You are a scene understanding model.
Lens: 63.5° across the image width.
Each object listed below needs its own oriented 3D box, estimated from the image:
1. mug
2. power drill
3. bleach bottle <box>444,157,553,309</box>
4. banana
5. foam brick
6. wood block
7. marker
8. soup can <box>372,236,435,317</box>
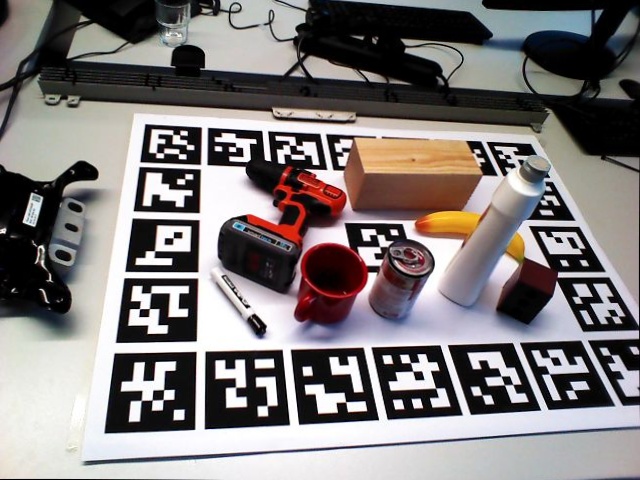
[{"bbox_3d":[0.007,0.062,0.702,0.093,0.082,0.116,35,55,16],"label":"mug"},{"bbox_3d":[-0.059,-0.037,0.800,0.185,0.058,0.185,25,48,6],"label":"power drill"},{"bbox_3d":[0.245,-0.015,0.706,0.068,0.252,0.102,23,48,9],"label":"bleach bottle"},{"bbox_3d":[0.251,-0.025,0.856,0.197,0.039,0.074,14,62,-2],"label":"banana"},{"bbox_3d":[0.314,0.078,0.757,0.053,0.078,0.051,25,47,13],"label":"foam brick"},{"bbox_3d":[0.165,-0.108,0.881,0.206,0.091,0.089,0,51,-12],"label":"wood block"},{"bbox_3d":[-0.111,0.085,0.705,0.019,0.020,0.121,-26,60,-27],"label":"marker"},{"bbox_3d":[0.116,0.051,0.714,0.068,0.102,0.067,7,44,-7],"label":"soup can"}]
